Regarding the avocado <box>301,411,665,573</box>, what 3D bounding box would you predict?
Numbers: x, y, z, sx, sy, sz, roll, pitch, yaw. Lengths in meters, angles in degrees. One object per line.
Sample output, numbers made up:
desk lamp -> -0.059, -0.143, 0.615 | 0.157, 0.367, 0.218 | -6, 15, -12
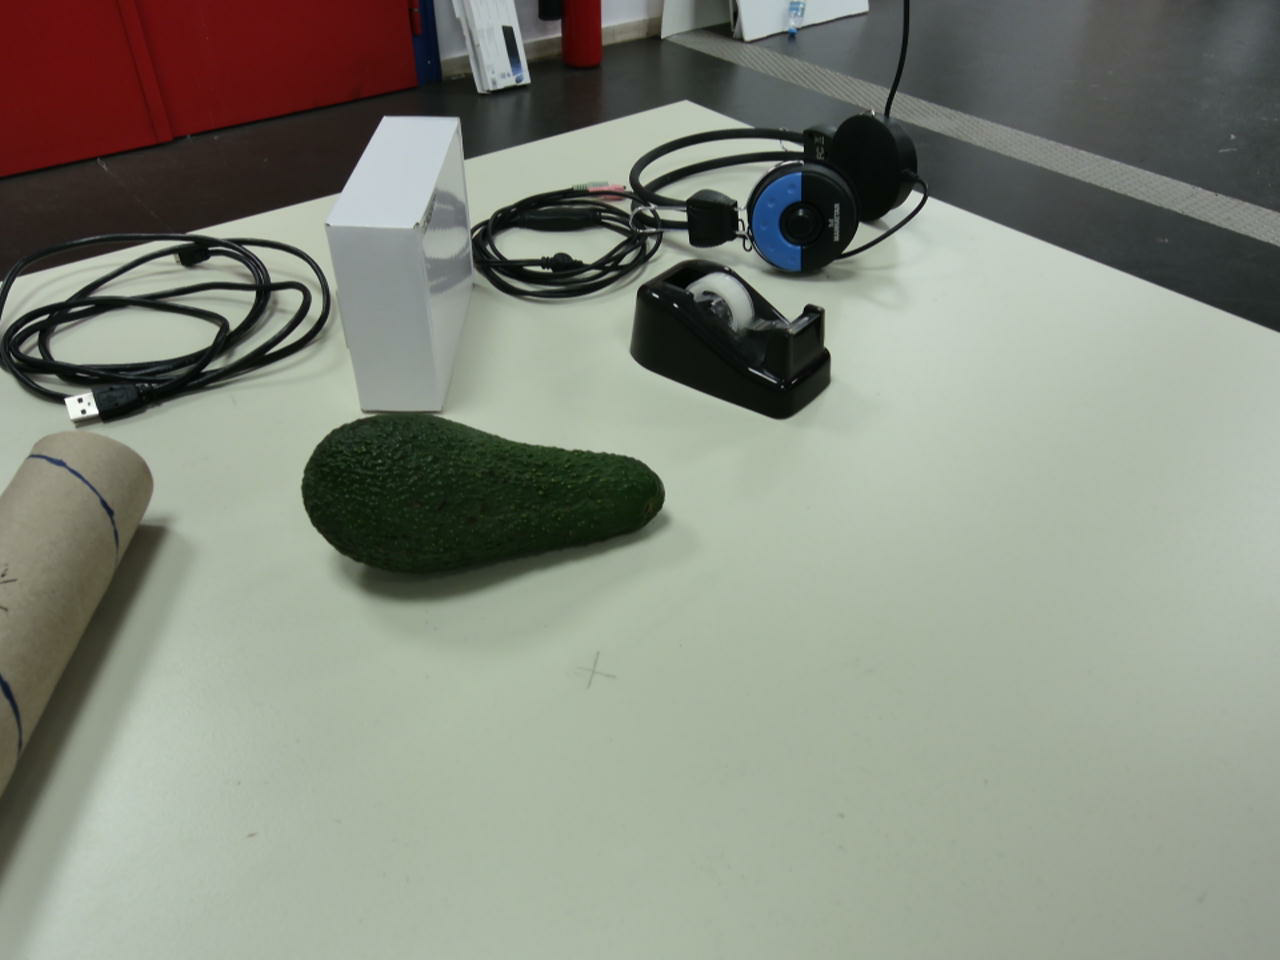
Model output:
avocado -> -0.061, -0.003, 0.400 | 0.141, 0.067, 0.063 | -15, 40, -20
